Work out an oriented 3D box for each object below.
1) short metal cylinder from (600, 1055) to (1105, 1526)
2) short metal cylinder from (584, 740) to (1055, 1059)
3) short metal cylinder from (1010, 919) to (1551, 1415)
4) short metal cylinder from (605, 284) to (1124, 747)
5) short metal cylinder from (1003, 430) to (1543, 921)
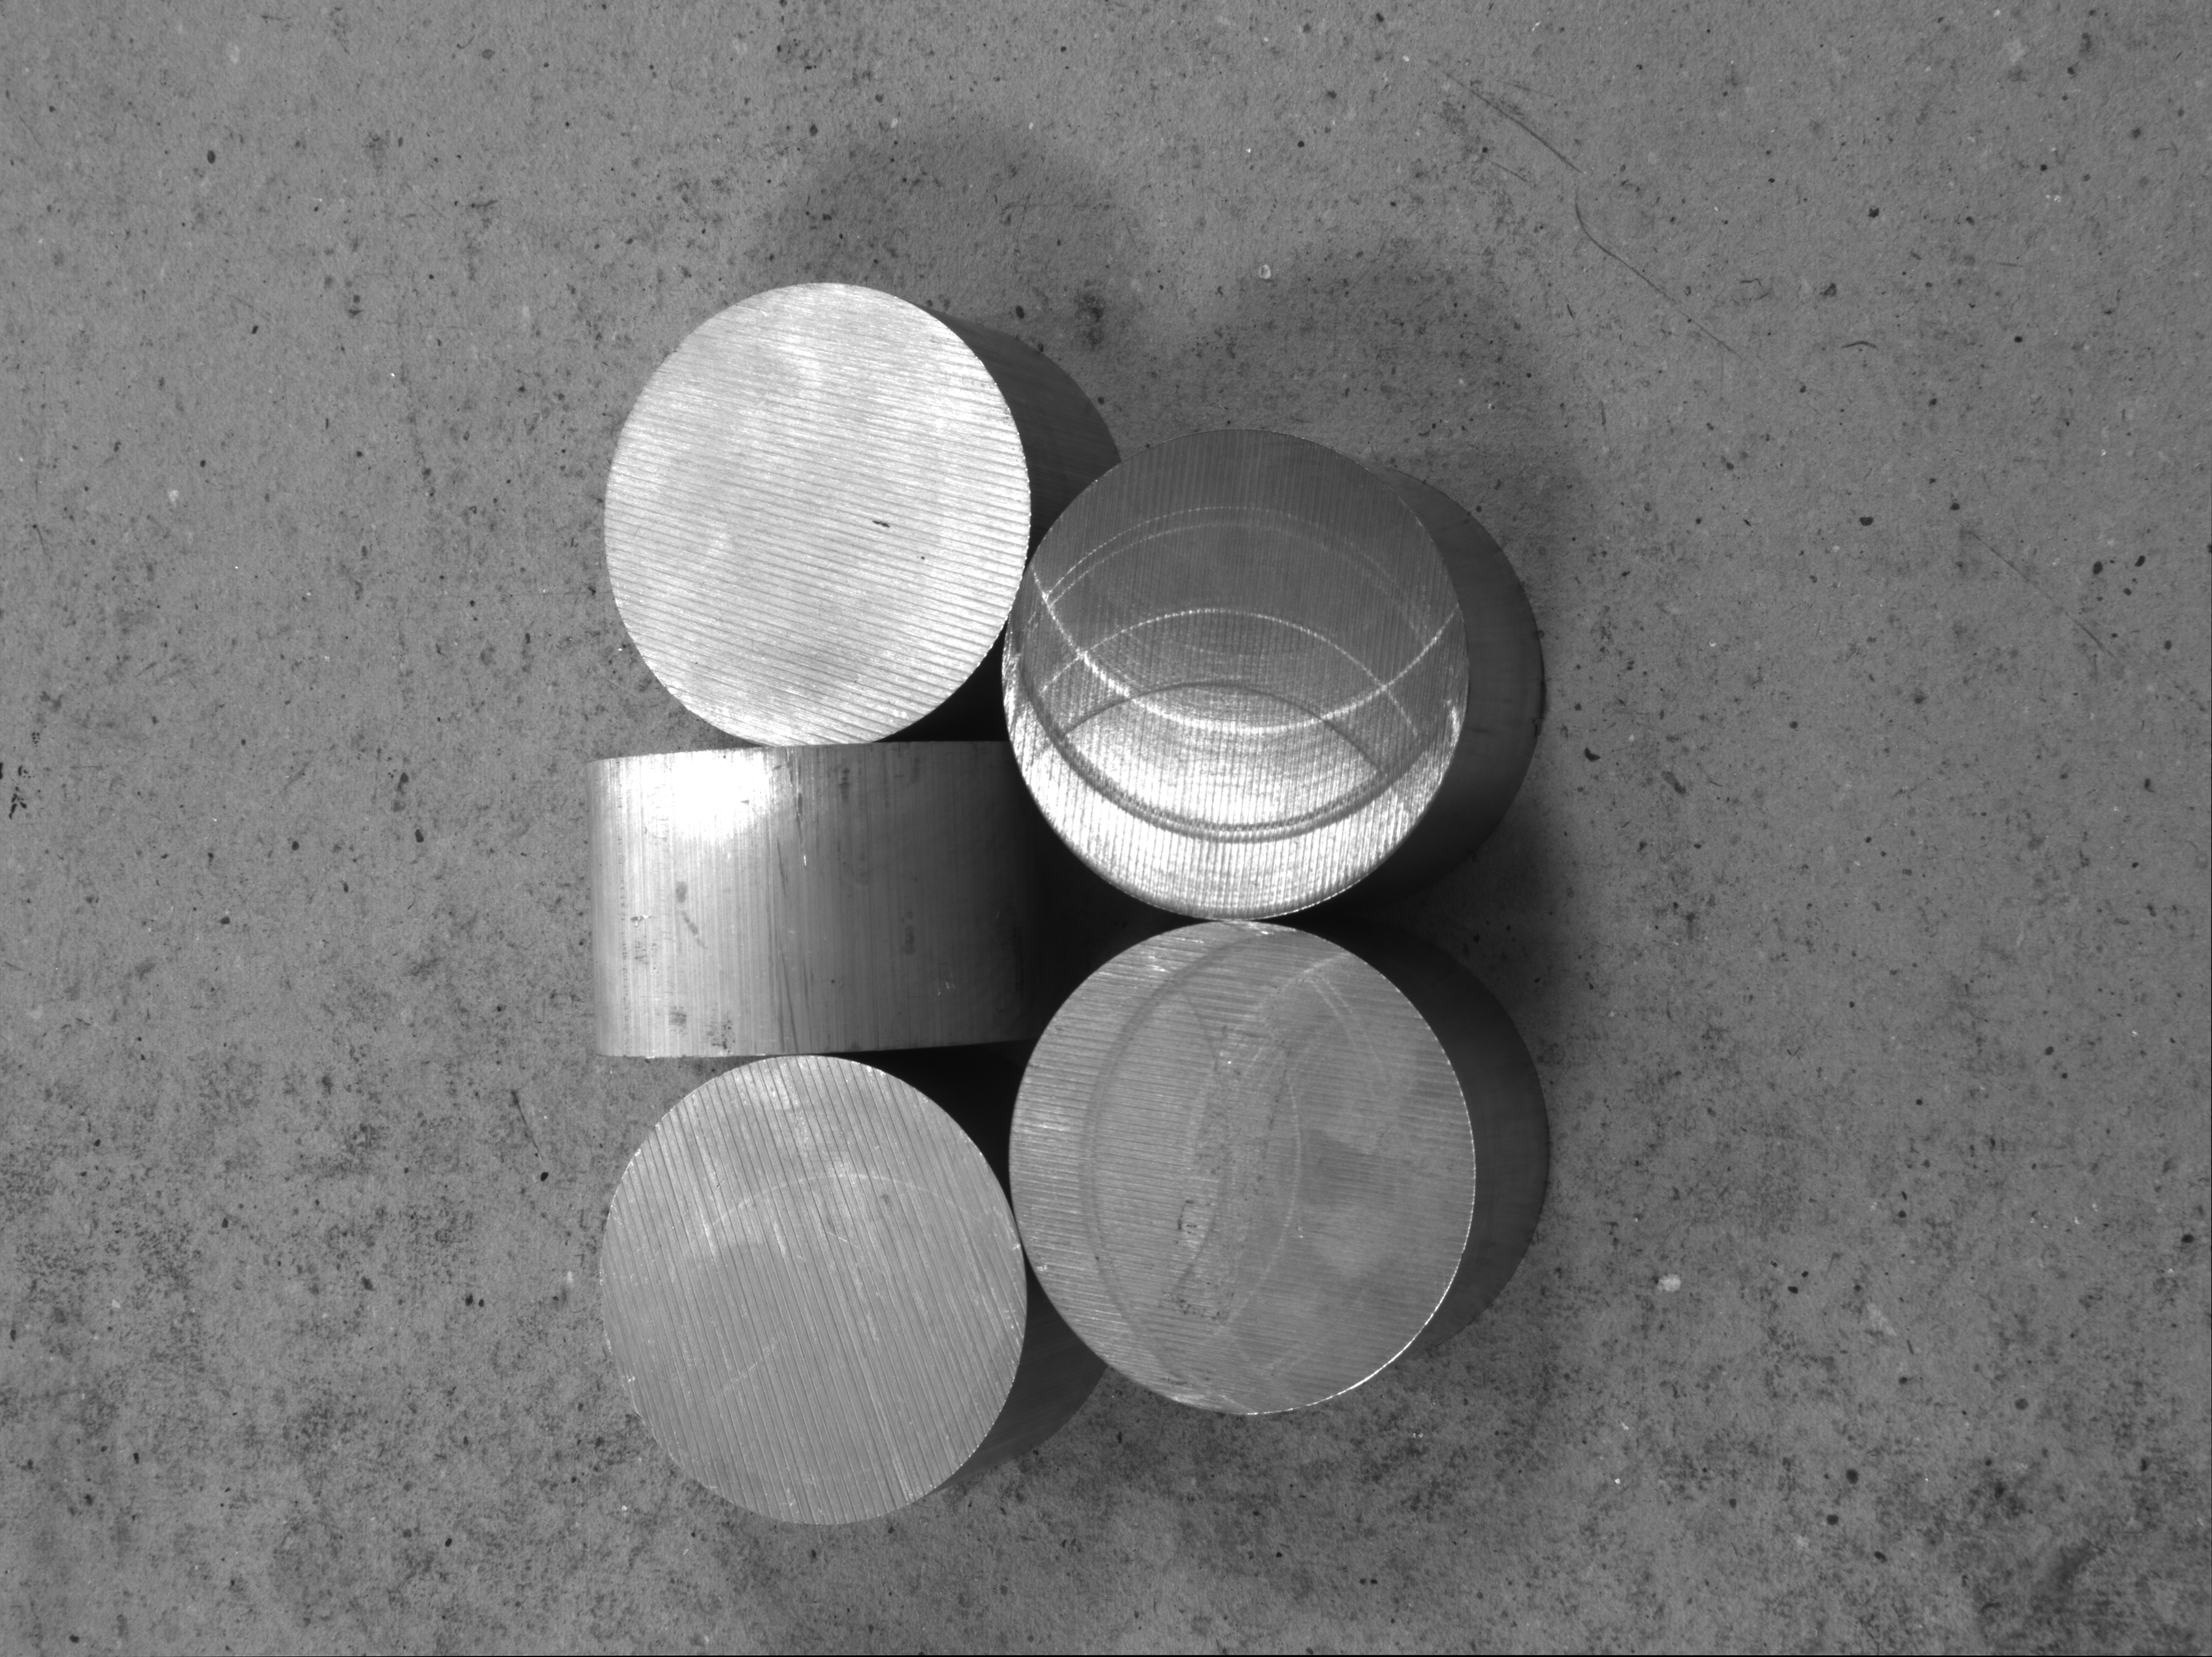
[{"bbox_3d":[-0.042,0.079,0.648,0.080,0.050,0.080,0,90,21],"label":"short metal cylinder"},{"bbox_3d":[-0.049,0.012,0.635,0.080,0.080,0.050,-3,89,20],"label":"short metal cylinder"},{"bbox_3d":[0.030,0.055,0.621,0.080,0.050,0.080,0,90,21],"label":"short metal cylinder"},{"bbox_3d":[-0.041,-0.053,0.648,0.080,0.050,0.080,0,90,21],"label":"short metal cylinder"},{"bbox_3d":[0.029,-0.025,0.622,0.080,0.050,0.080,0,90,20],"label":"short metal cylinder"}]
